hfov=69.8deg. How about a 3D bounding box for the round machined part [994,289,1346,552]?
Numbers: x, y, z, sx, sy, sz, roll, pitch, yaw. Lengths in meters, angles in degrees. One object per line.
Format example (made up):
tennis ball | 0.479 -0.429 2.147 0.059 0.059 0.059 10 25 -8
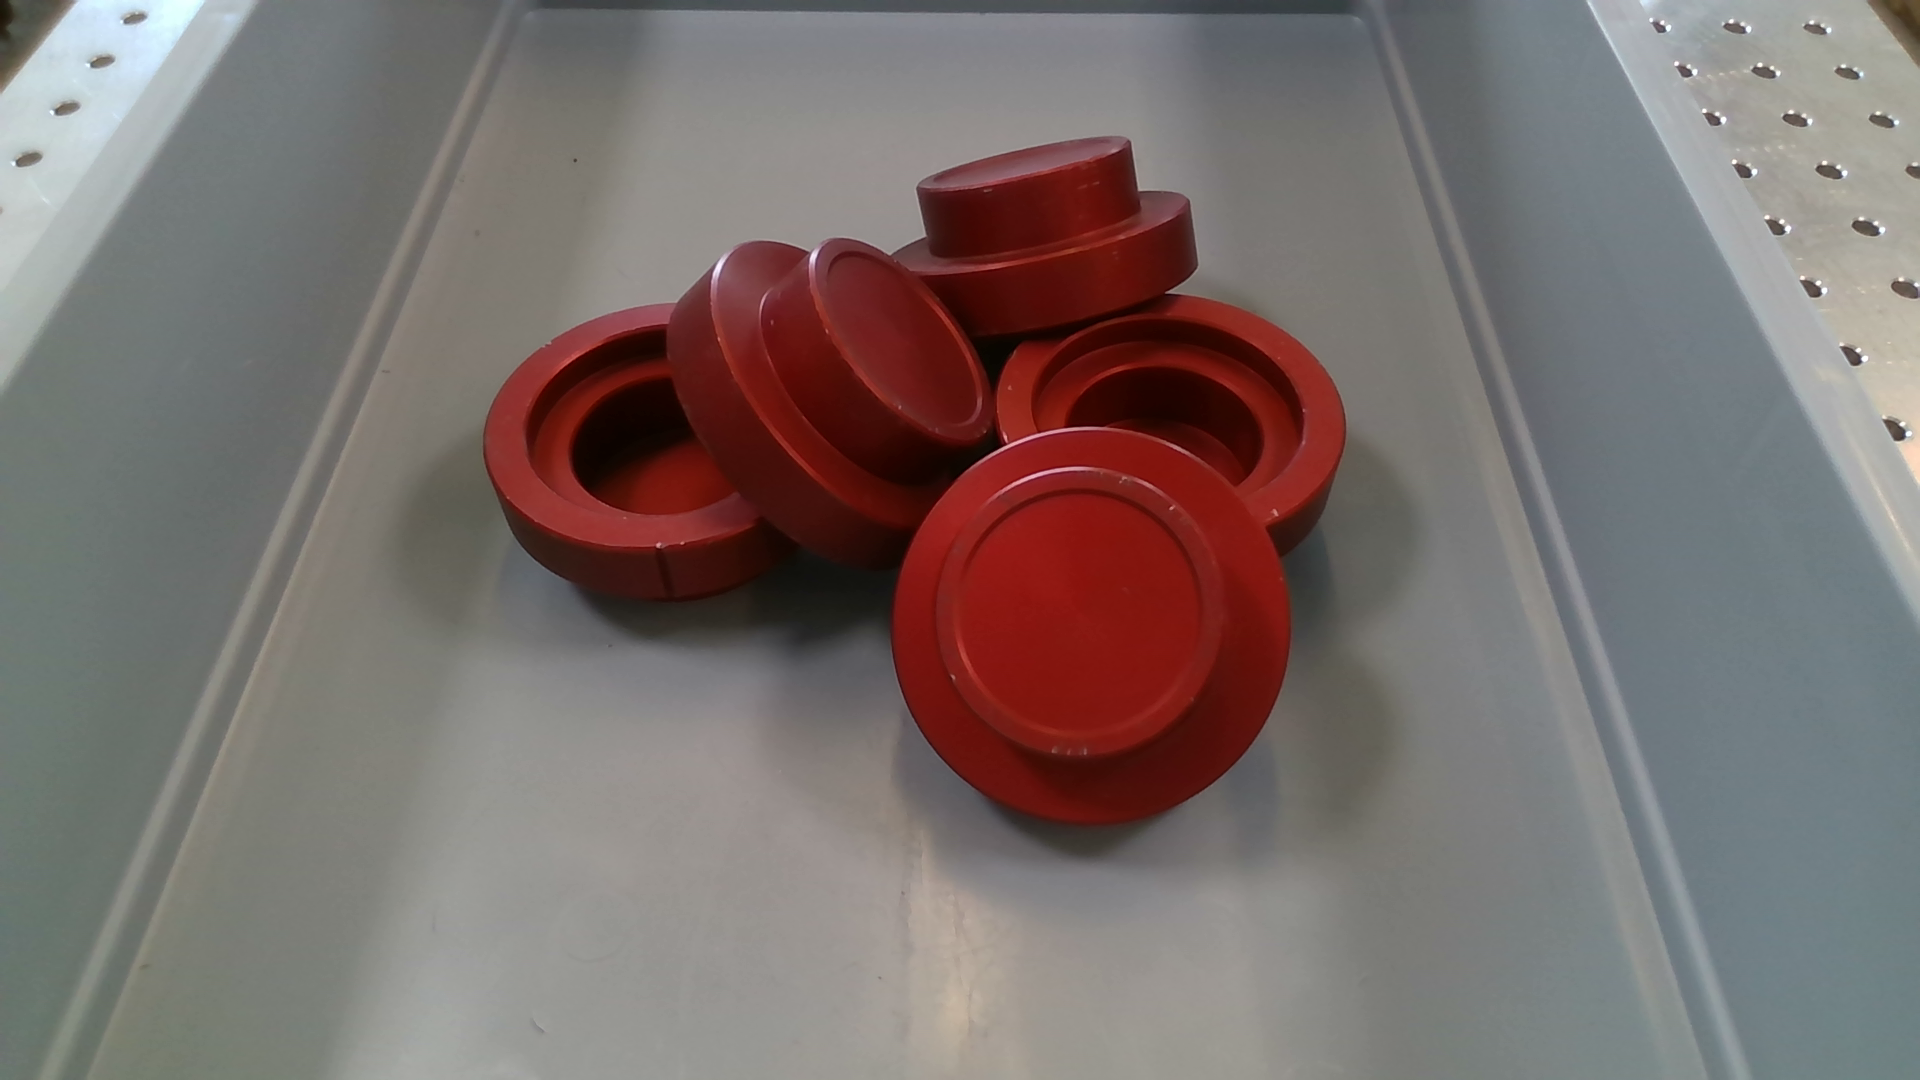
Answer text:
round machined part | 0.058 -0.026 0.401 0.098 0.042 0.098 0 50 0

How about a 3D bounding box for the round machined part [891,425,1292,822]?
round machined part | 0.031 0.019 0.336 0.098 0.042 0.098 -2 80 10

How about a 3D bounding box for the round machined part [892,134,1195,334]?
round machined part | 0.023 -0.100 0.436 0.098 0.042 0.098 -11 22 4

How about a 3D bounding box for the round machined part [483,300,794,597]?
round machined part | -0.083 -0.022 0.399 0.098 0.042 0.098 0 50 0

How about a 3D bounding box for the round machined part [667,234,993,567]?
round machined part | -0.029 -0.045 0.381 0.042 0.098 0.098 -36 43 29
